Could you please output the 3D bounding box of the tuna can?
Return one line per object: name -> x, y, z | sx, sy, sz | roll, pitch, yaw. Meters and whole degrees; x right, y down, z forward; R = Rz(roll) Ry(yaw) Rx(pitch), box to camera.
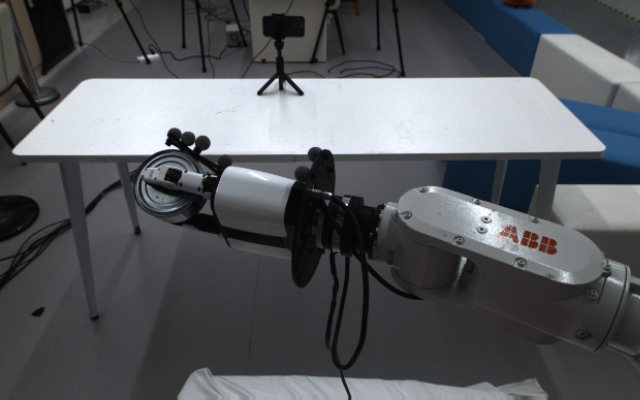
tuna can -> -0.179, -0.015, 0.591 | 0.085, 0.034, 0.085 | -2, 70, 6
